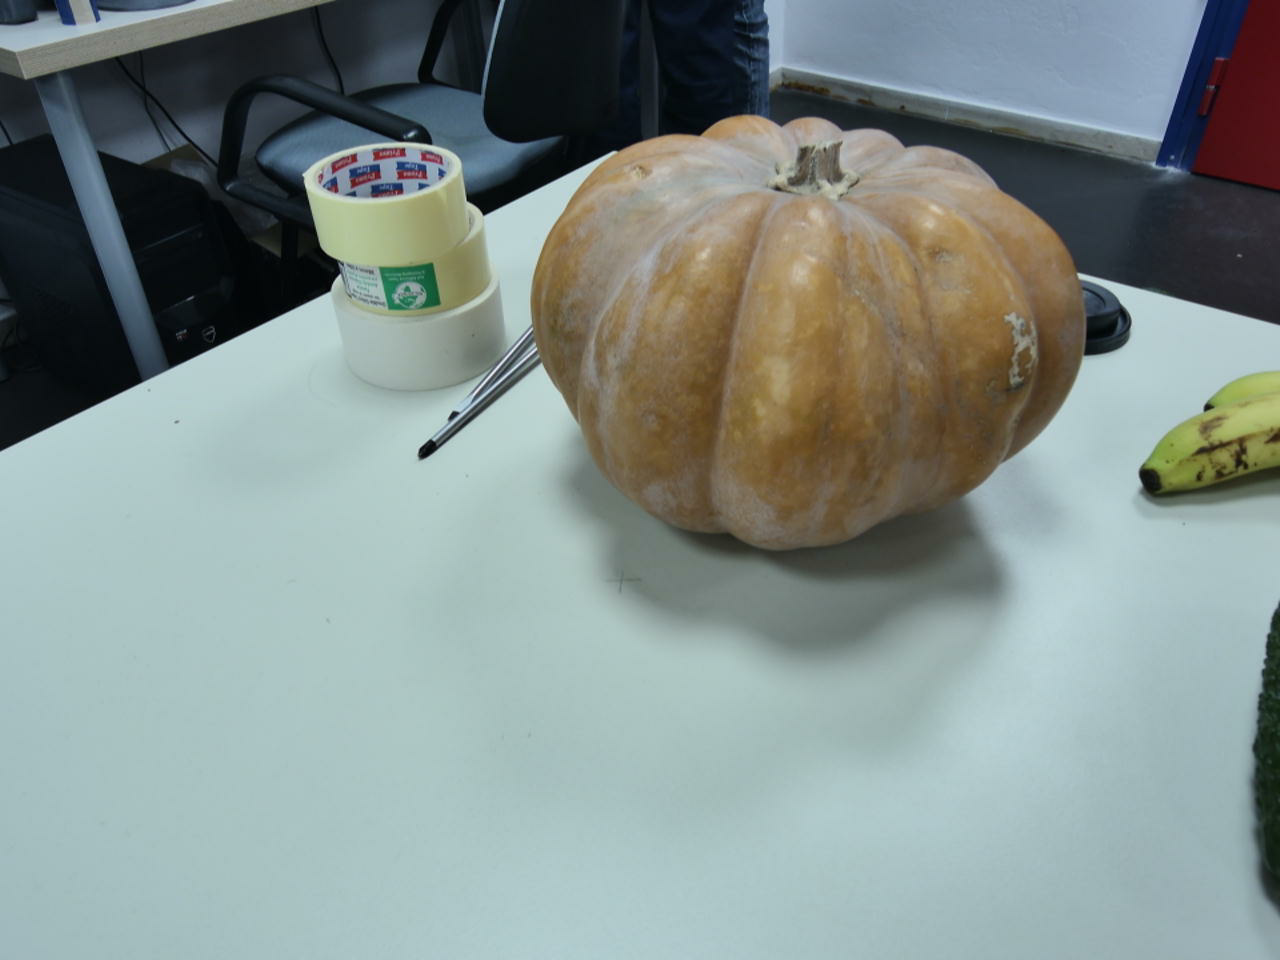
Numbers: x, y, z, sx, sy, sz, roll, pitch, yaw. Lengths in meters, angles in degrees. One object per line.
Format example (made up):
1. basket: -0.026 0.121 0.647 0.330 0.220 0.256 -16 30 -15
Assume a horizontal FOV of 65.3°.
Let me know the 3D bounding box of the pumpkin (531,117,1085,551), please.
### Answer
1. pumpkin: 0.077 -0.082 0.511 0.277 0.181 0.277 0 37 0
